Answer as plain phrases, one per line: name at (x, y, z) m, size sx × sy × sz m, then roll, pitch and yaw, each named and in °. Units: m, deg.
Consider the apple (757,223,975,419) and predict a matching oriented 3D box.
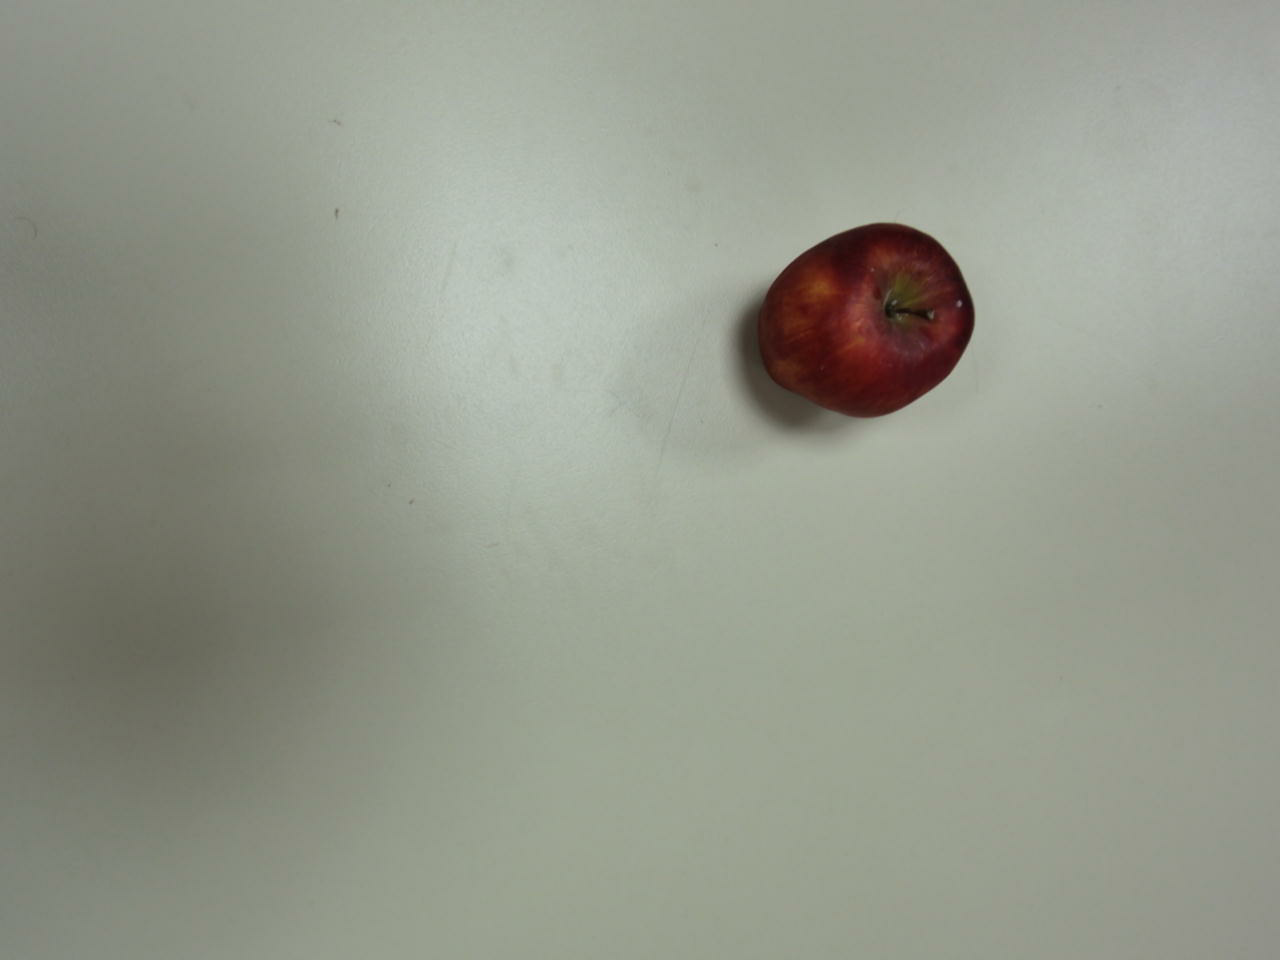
apple at (0.093, -0.065, 0.409) m, size 0.083 × 0.090 × 0.083 m, roll 0°, pitch 90°, yaw -11°
